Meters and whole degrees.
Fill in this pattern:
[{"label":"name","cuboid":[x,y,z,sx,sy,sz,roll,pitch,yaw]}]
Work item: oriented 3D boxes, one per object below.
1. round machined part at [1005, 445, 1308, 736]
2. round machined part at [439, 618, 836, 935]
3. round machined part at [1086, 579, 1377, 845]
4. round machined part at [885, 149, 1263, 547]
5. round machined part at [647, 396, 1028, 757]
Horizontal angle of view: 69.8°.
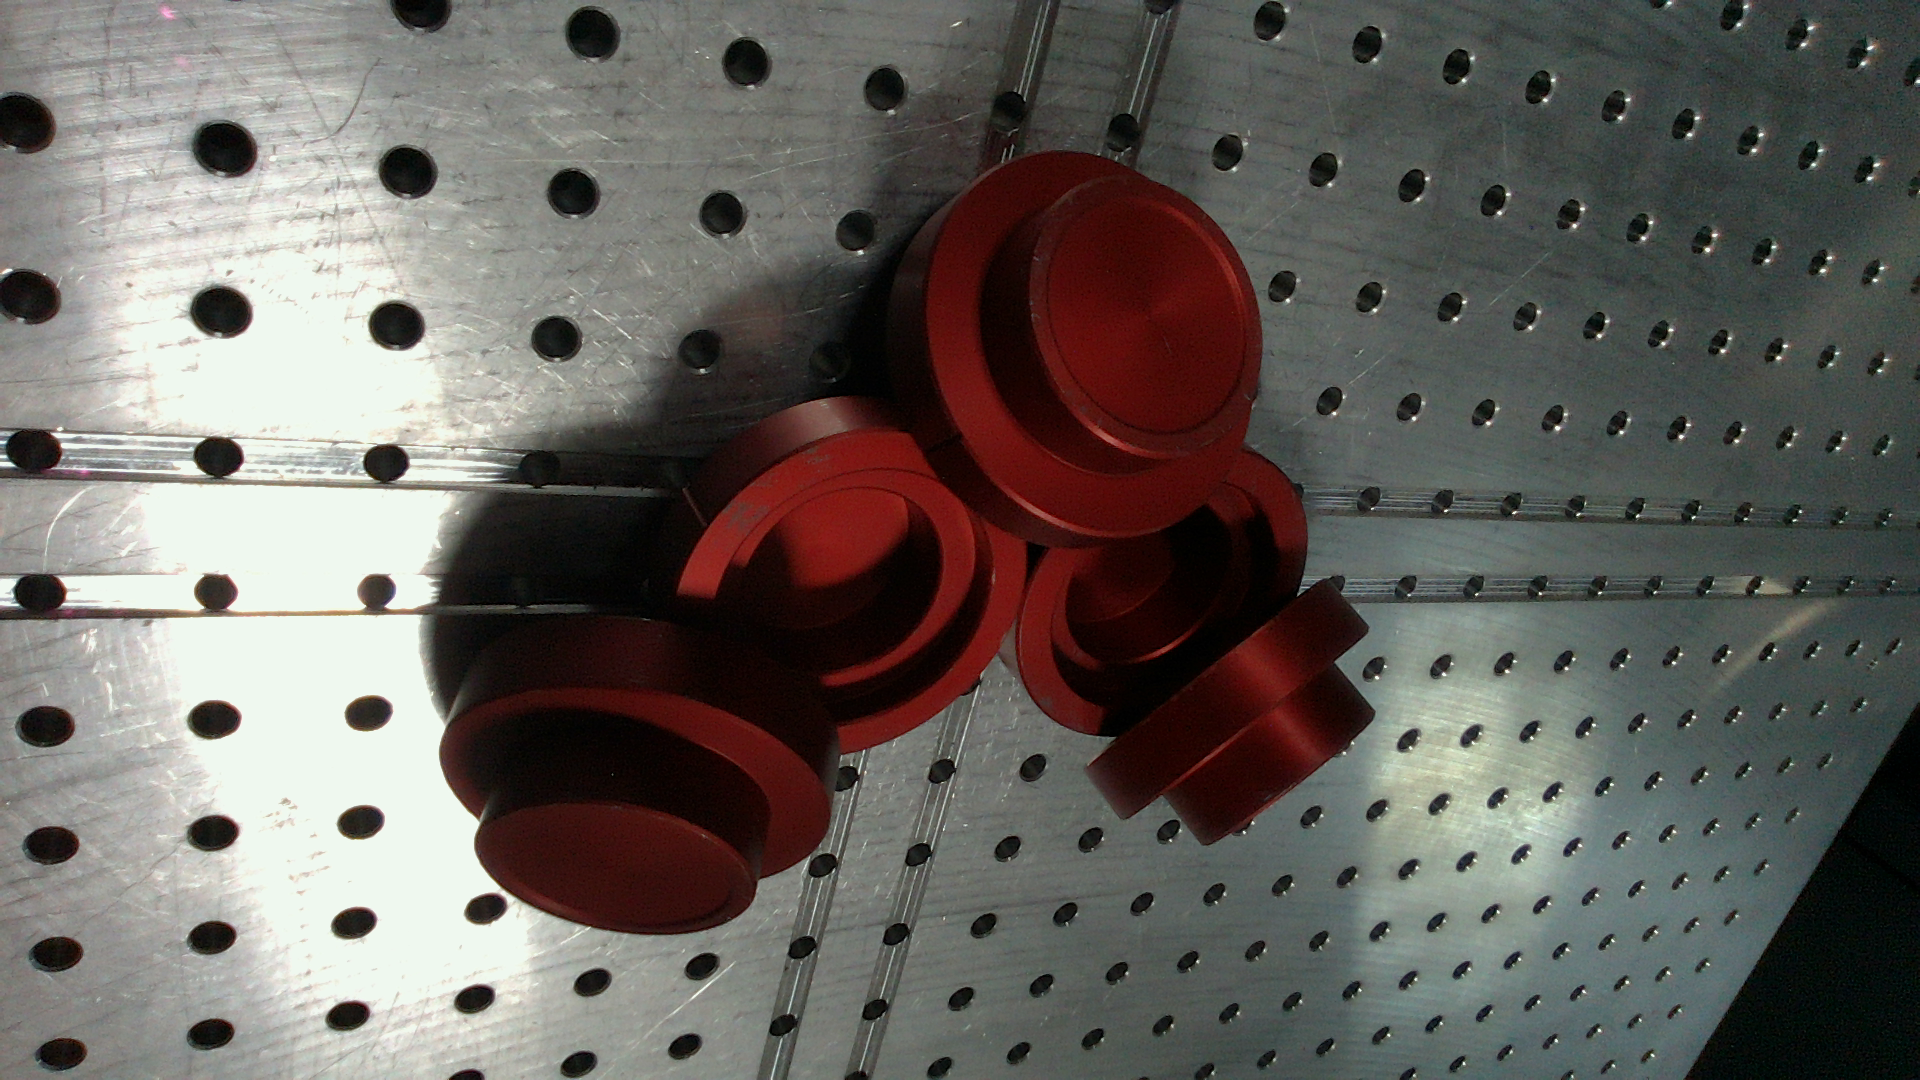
[{"label":"round machined part","cuboid":[0.052,0.007,0.413,0.098,0.042,0.098,-14,124,-21]},{"label":"round machined part","cuboid":[-0.082,0.066,0.347,0.098,0.042,0.098,4,140,3]},{"label":"round machined part","cuboid":[0.090,0.059,0.431,0.098,0.042,0.098,-36,167,-9]},{"label":"round machined part","cuboid":[0.035,-0.049,0.337,0.098,0.042,0.098,6,78,-27]},{"label":"round machined part","cuboid":[-0.035,0.007,0.366,0.098,0.042,0.098,-14,124,-21]}]
